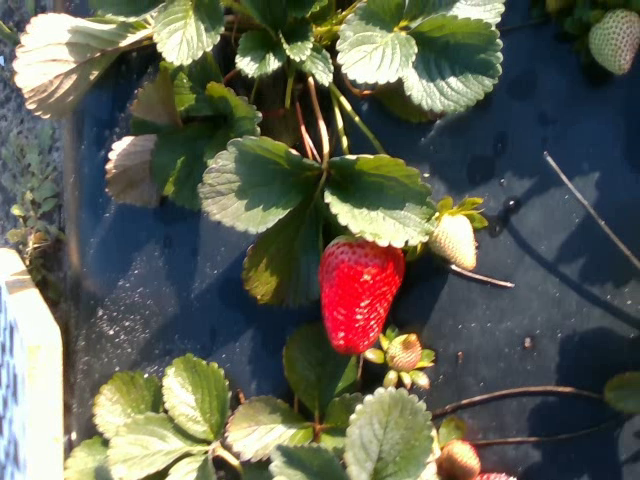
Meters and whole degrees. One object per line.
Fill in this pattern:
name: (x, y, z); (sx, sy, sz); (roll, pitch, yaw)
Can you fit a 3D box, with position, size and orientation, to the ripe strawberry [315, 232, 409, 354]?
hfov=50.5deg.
ripe strawberry: (0.020, 0.031, 0.363); (0.055, 0.072, 0.056); (7, -18, -26)
